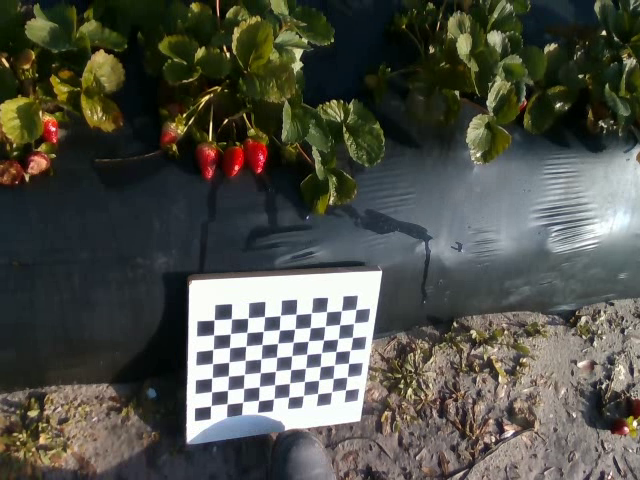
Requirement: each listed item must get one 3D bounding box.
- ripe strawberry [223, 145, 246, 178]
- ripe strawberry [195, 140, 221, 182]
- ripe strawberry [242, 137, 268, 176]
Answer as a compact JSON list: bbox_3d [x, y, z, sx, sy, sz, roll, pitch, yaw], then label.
[{"bbox_3d":[-0.104,-0.092,0.732,0.030,0.039,0.037,8,-47,-20],"label":"ripe strawberry"},{"bbox_3d":[-0.133,-0.092,0.730,0.031,0.046,0.023,-2,6,-17],"label":"ripe strawberry"},{"bbox_3d":[-0.077,-0.094,0.744,0.035,0.041,0.034,-6,-29,-15],"label":"ripe strawberry"}]
